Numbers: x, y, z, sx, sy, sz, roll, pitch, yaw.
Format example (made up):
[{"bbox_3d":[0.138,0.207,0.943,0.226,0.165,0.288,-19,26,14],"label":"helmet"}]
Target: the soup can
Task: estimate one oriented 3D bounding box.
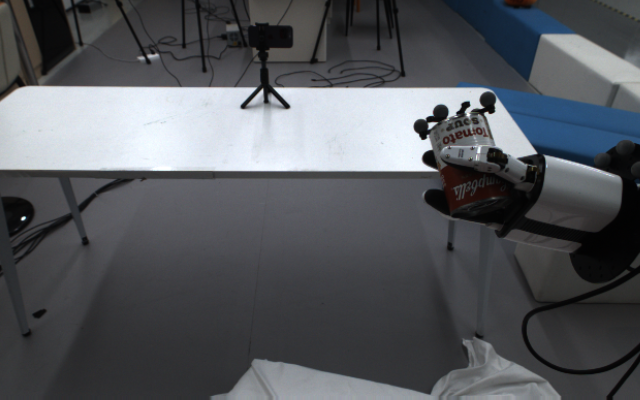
[{"bbox_3d":[0.169,-0.039,0.545,0.067,0.067,0.101,-8,74,-14],"label":"soup can"}]
